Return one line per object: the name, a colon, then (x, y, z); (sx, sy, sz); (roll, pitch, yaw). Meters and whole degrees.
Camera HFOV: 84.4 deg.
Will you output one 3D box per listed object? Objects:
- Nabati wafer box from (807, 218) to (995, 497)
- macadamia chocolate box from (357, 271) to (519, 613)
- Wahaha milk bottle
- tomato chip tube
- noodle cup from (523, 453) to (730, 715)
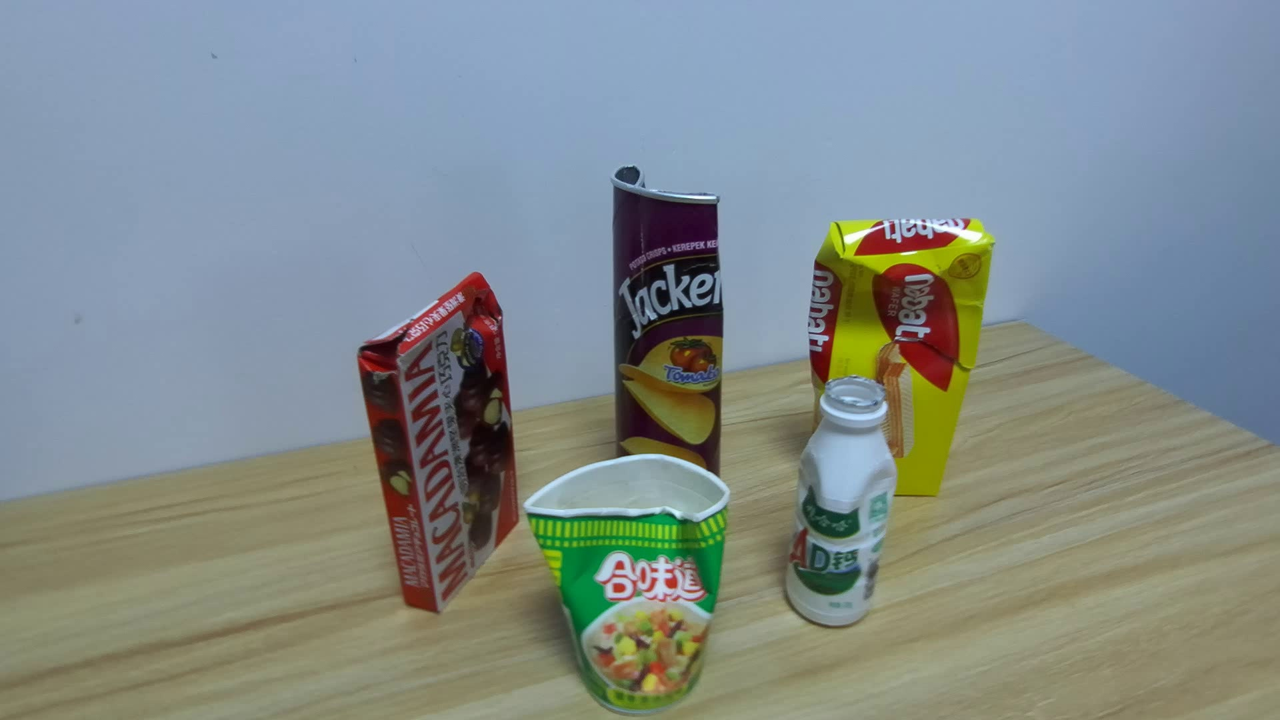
Nabati wafer box: (0.168, 0.003, 0.485); (0.107, 0.204, 0.042); (1, 30, 4)
macadamia chocolate box: (-0.112, 0.050, 0.424); (0.027, 0.187, 0.103); (12, 30, 19)
Wahaha milk bottle: (0.111, 0.081, 0.395); (0.055, 0.149, 0.055); (-2, 28, 1)
tomato chip tube: (0.020, 0.000, 0.461); (0.076, 0.235, 0.078); (5, 27, 12)
noodle cup: (0.001, 0.118, 0.370); (0.082, 0.122, 0.075); (6, 20, 33)
